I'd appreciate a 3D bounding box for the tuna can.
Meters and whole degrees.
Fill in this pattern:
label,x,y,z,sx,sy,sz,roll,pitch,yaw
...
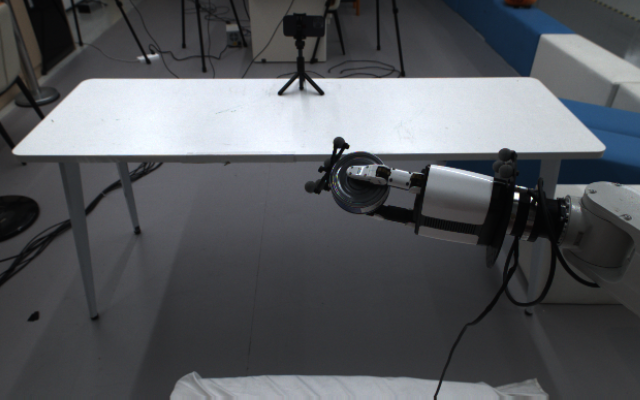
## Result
label,x,y,z,sx,sy,sz,roll,pitch,yaw
tuna can,0.059,-0.026,0.689,0.085,0.034,0.085,-2,71,5
